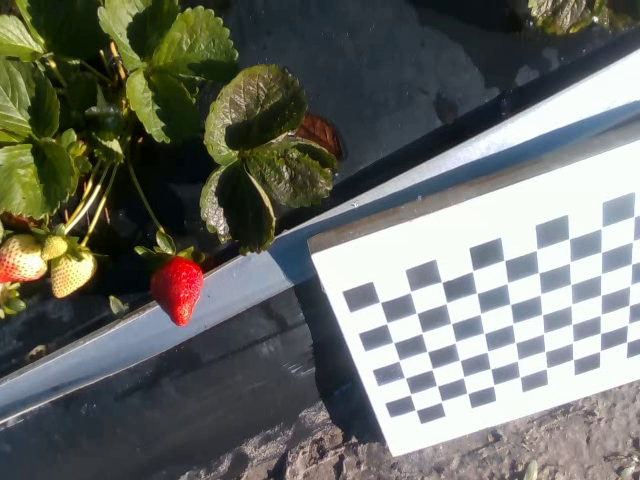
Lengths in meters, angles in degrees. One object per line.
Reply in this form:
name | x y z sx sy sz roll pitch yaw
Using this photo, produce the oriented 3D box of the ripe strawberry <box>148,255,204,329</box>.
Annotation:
ripe strawberry | -0.082 0.032 0.358 0.036 0.045 0.038 -18 -37 7
